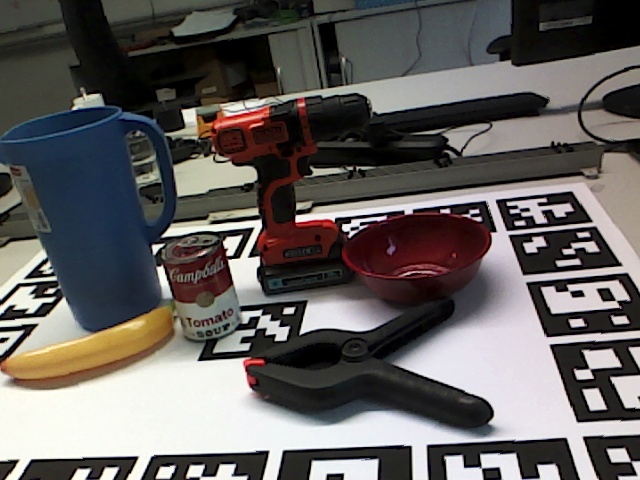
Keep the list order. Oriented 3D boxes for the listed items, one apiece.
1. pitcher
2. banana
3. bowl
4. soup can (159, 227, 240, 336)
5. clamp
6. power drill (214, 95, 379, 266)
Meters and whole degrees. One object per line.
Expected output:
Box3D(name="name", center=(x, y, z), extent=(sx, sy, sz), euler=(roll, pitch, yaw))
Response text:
Box3D(name="pitcher", center=(-0.254, -0.033, 0.720), extent=(0.188, 0.242, 0.134), euler=(-17, 23, -12))
Box3D(name="banana", center=(-0.250, 0.110, 0.666), extent=(0.197, 0.039, 0.074), euler=(-16, 18, -14))
Box3D(name="bowl", center=(0.100, 0.020, 0.678), extent=(0.162, 0.055, 0.162), euler=(-10, 27, 5))
Box3D(name="soup can", center=(-0.130, 0.044, 0.674), extent=(0.068, 0.102, 0.068), euler=(-9, 17, 3))
Box3D(name="clamp", center=(0.027, 0.102, 0.550), extent=(0.203, 0.036, 0.166), euler=(-8, 30, 8))
Box3D(name="power drill", center=(-0.016, -0.068, 0.712), extent=(0.185, 0.186, 0.057), euler=(-8, 26, 5))
